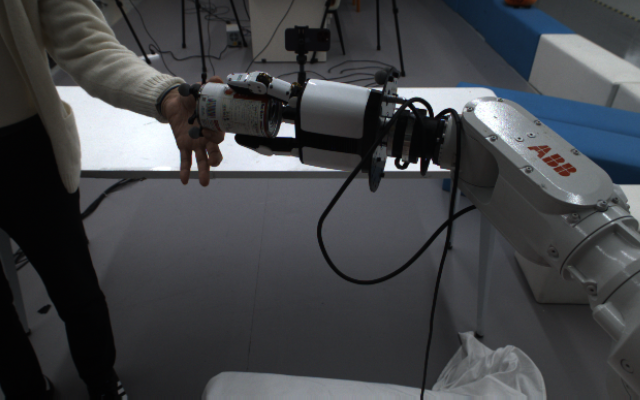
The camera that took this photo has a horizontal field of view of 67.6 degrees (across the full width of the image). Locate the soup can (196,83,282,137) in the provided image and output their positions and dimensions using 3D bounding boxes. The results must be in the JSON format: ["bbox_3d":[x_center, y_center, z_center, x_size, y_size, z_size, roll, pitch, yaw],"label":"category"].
[{"bbox_3d":[-0.109,-0.122,0.666,0.101,0.067,0.067,9,35,9],"label":"soup can"}]
